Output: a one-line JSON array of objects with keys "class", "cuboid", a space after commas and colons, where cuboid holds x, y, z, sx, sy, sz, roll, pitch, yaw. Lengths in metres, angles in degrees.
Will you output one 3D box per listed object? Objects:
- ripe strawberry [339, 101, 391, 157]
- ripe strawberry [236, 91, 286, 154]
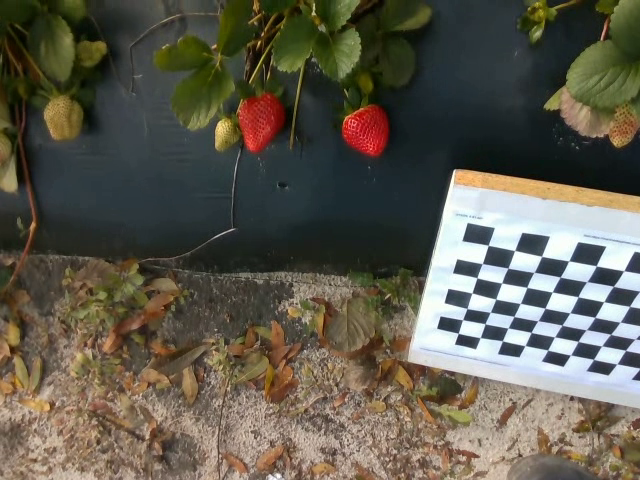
[{"class": "ripe strawberry", "cuboid": [0.030, -0.065, 0.375, 0.033, 0.039, 0.038, 2, -31, -11]}, {"class": "ripe strawberry", "cuboid": [-0.039, -0.073, 0.385, 0.035, 0.036, 0.041, 3, -20, 22]}]
